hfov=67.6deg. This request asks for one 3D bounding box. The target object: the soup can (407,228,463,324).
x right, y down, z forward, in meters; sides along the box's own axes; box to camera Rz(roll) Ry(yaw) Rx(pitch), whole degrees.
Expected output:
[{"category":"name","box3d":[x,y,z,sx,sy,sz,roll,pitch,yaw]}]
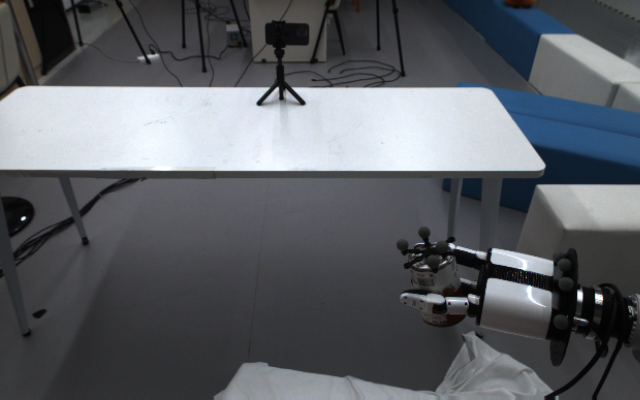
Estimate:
[{"category":"soup can","box3d":[0.172,0.122,0.697,0.067,0.101,0.067,-16,23,7]}]
